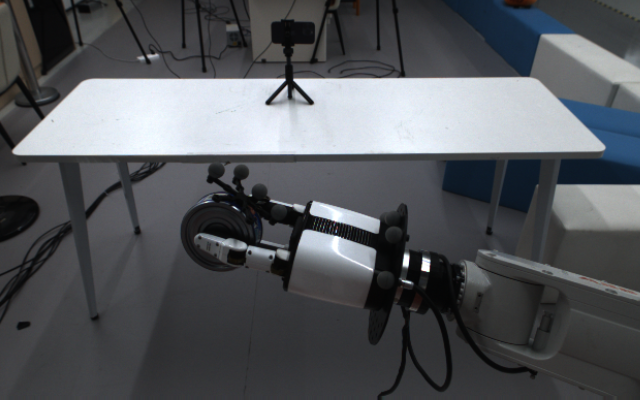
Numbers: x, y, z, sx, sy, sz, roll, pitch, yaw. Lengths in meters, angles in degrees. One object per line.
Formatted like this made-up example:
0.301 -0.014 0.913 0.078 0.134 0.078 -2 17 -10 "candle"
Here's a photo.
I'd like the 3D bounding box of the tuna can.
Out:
-0.107 0.035 0.537 0.085 0.085 0.034 6 19 6 "tuna can"
